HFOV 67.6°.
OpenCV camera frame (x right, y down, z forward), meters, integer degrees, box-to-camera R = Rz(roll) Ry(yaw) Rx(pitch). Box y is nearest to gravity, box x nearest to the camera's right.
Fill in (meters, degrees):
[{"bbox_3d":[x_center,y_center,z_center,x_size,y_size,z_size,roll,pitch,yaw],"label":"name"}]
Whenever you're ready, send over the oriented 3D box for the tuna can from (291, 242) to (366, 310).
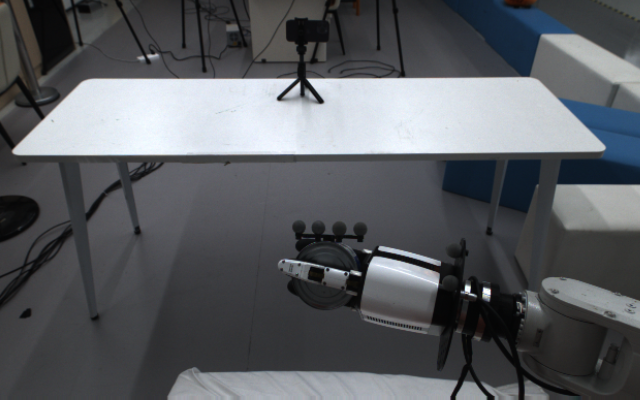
[{"bbox_3d":[0.012,0.097,0.604,0.085,0.085,0.034,13,-3,15],"label":"tuna can"}]
